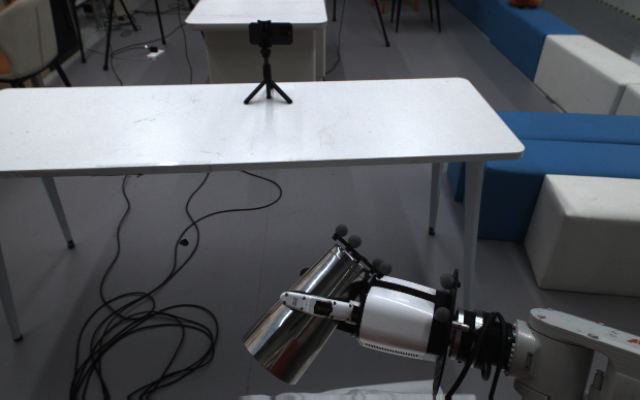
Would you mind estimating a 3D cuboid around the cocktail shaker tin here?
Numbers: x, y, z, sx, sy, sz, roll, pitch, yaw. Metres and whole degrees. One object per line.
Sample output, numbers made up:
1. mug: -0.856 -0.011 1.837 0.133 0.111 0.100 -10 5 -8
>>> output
1. cocktail shaker tin: -0.010 0.139 0.633 0.170 0.093 0.093 -48 50 -5
